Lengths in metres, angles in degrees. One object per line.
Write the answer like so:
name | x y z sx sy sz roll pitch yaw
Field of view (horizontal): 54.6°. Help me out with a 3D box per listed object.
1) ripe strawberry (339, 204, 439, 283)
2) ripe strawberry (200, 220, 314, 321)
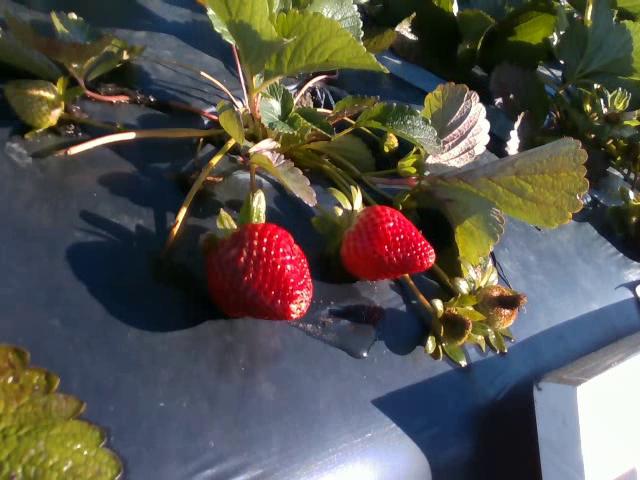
ripe strawberry | 0.034 0.004 0.289 0.049 0.042 0.039 20 -25 31
ripe strawberry | -0.021 0.016 0.242 0.050 0.045 0.050 13 14 -38
